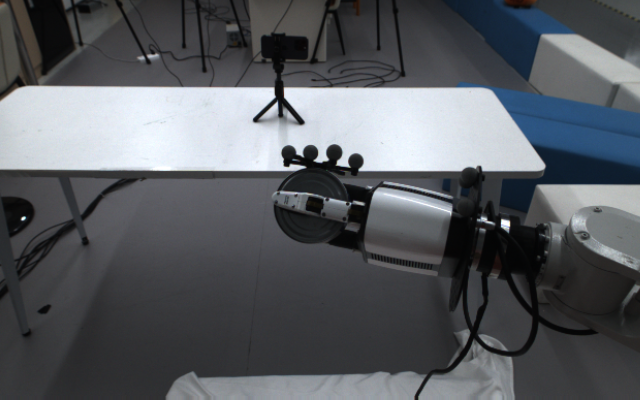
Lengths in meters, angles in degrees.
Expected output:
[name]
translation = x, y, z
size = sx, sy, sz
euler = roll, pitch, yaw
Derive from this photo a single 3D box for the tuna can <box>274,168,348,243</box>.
[tuna can]
translation = -0.006, 0.005, 0.551
size = 0.085, 0.085, 0.034
euler = 11, -7, 12
